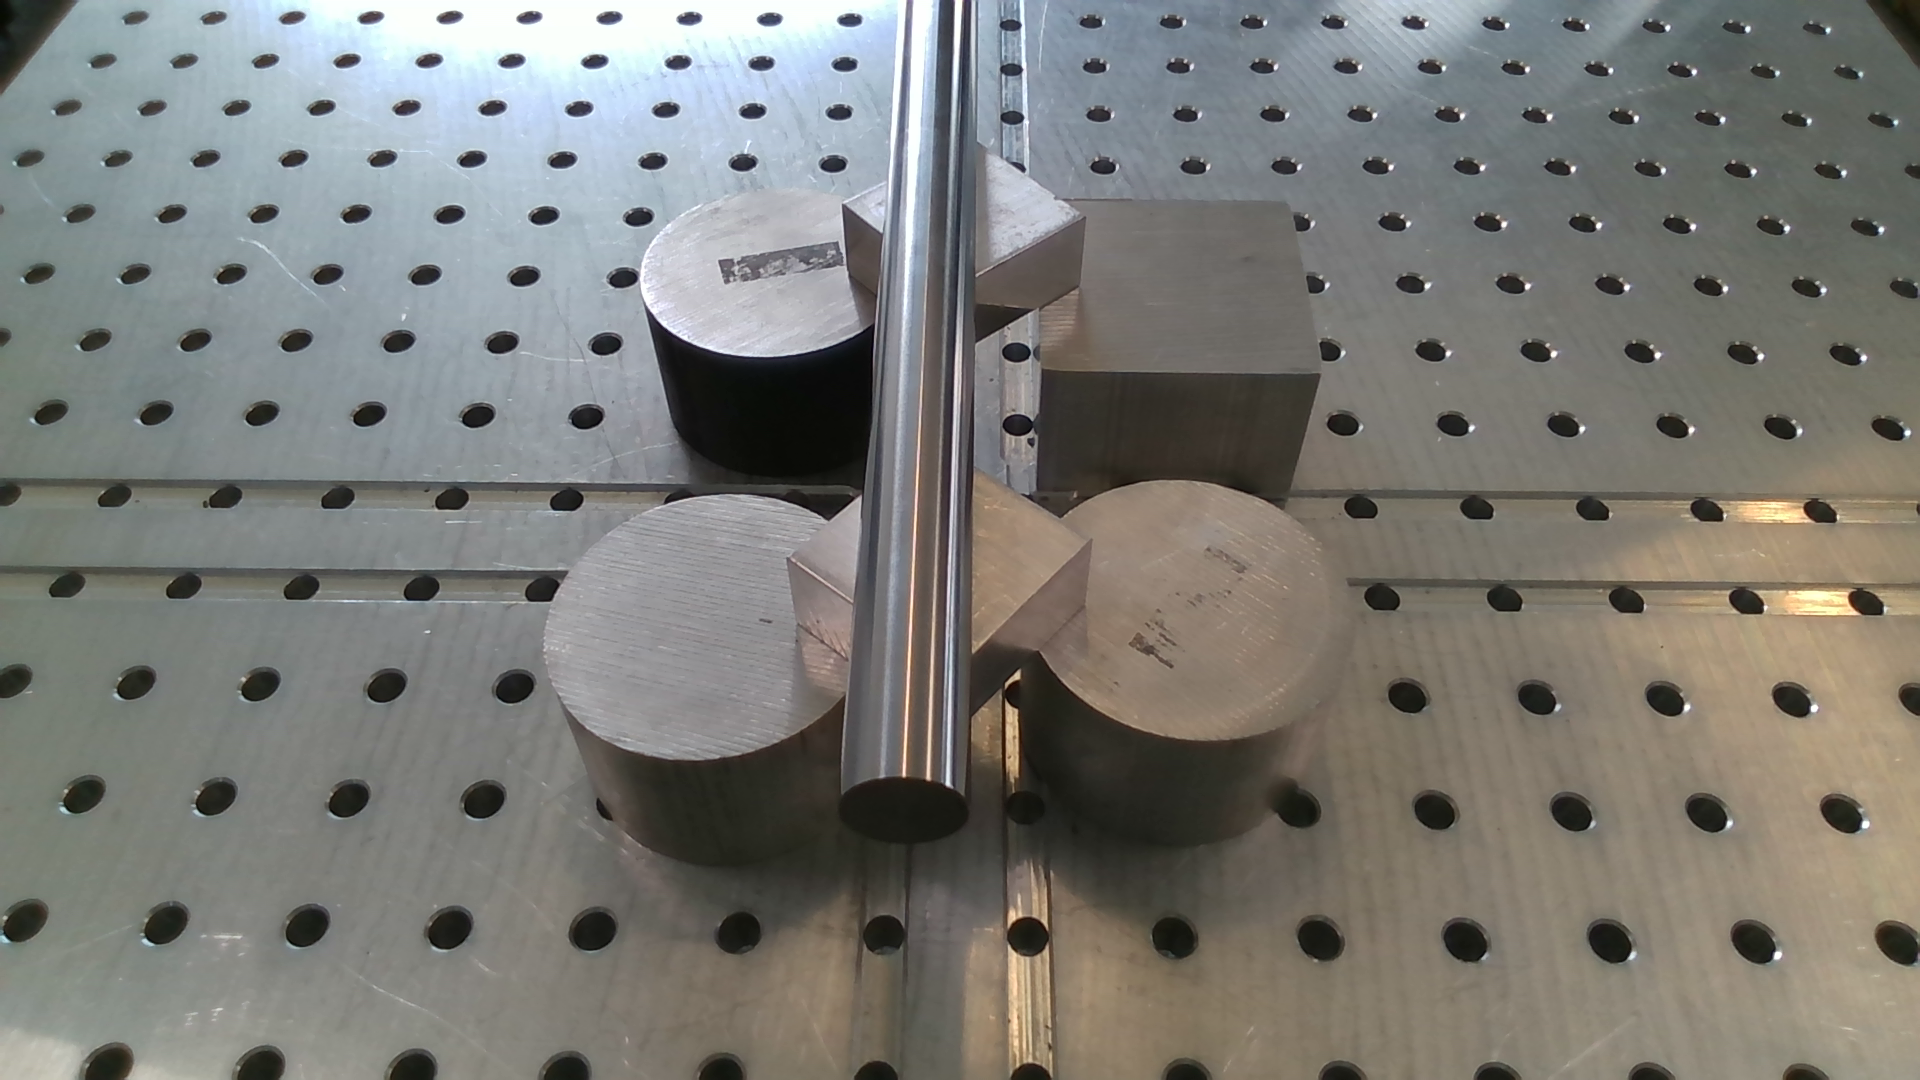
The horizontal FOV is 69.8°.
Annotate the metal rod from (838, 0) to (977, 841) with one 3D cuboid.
[{"bbox_3d":[-0.009,-0.065,0.352,0.025,0.025,0.299,0,50,0],"label":"metal rod"}]

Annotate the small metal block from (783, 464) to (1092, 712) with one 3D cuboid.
[{"bbox_3d":[-0.005,0.010,0.324,0.050,0.025,0.050,33,58,24],"label":"small metal block"}]

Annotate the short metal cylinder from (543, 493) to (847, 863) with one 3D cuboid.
[{"bbox_3d":[-0.060,0.035,0.352,0.080,0.050,0.080,0,50,0],"label":"short metal cylinder"}]

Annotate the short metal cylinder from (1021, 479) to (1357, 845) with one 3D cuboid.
[{"bbox_3d":[0.056,0.031,0.355,0.080,0.050,0.080,0,50,0],"label":"short metal cylinder"}]

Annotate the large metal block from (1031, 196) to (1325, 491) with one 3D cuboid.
[{"bbox_3d":[0.063,-0.062,0.432,0.080,0.050,0.080,1,50,1],"label":"large metal block"}]

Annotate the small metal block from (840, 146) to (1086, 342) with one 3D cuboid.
[{"bbox_3d":[0.001,-0.087,0.405,0.050,0.025,0.050,-33,57,-24],"label":"small metal block"}]

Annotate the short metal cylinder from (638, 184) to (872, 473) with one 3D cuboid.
[{"bbox_3d":[-0.057,-0.068,0.436,0.080,0.050,0.080,0,50,0],"label":"short metal cylinder"}]
